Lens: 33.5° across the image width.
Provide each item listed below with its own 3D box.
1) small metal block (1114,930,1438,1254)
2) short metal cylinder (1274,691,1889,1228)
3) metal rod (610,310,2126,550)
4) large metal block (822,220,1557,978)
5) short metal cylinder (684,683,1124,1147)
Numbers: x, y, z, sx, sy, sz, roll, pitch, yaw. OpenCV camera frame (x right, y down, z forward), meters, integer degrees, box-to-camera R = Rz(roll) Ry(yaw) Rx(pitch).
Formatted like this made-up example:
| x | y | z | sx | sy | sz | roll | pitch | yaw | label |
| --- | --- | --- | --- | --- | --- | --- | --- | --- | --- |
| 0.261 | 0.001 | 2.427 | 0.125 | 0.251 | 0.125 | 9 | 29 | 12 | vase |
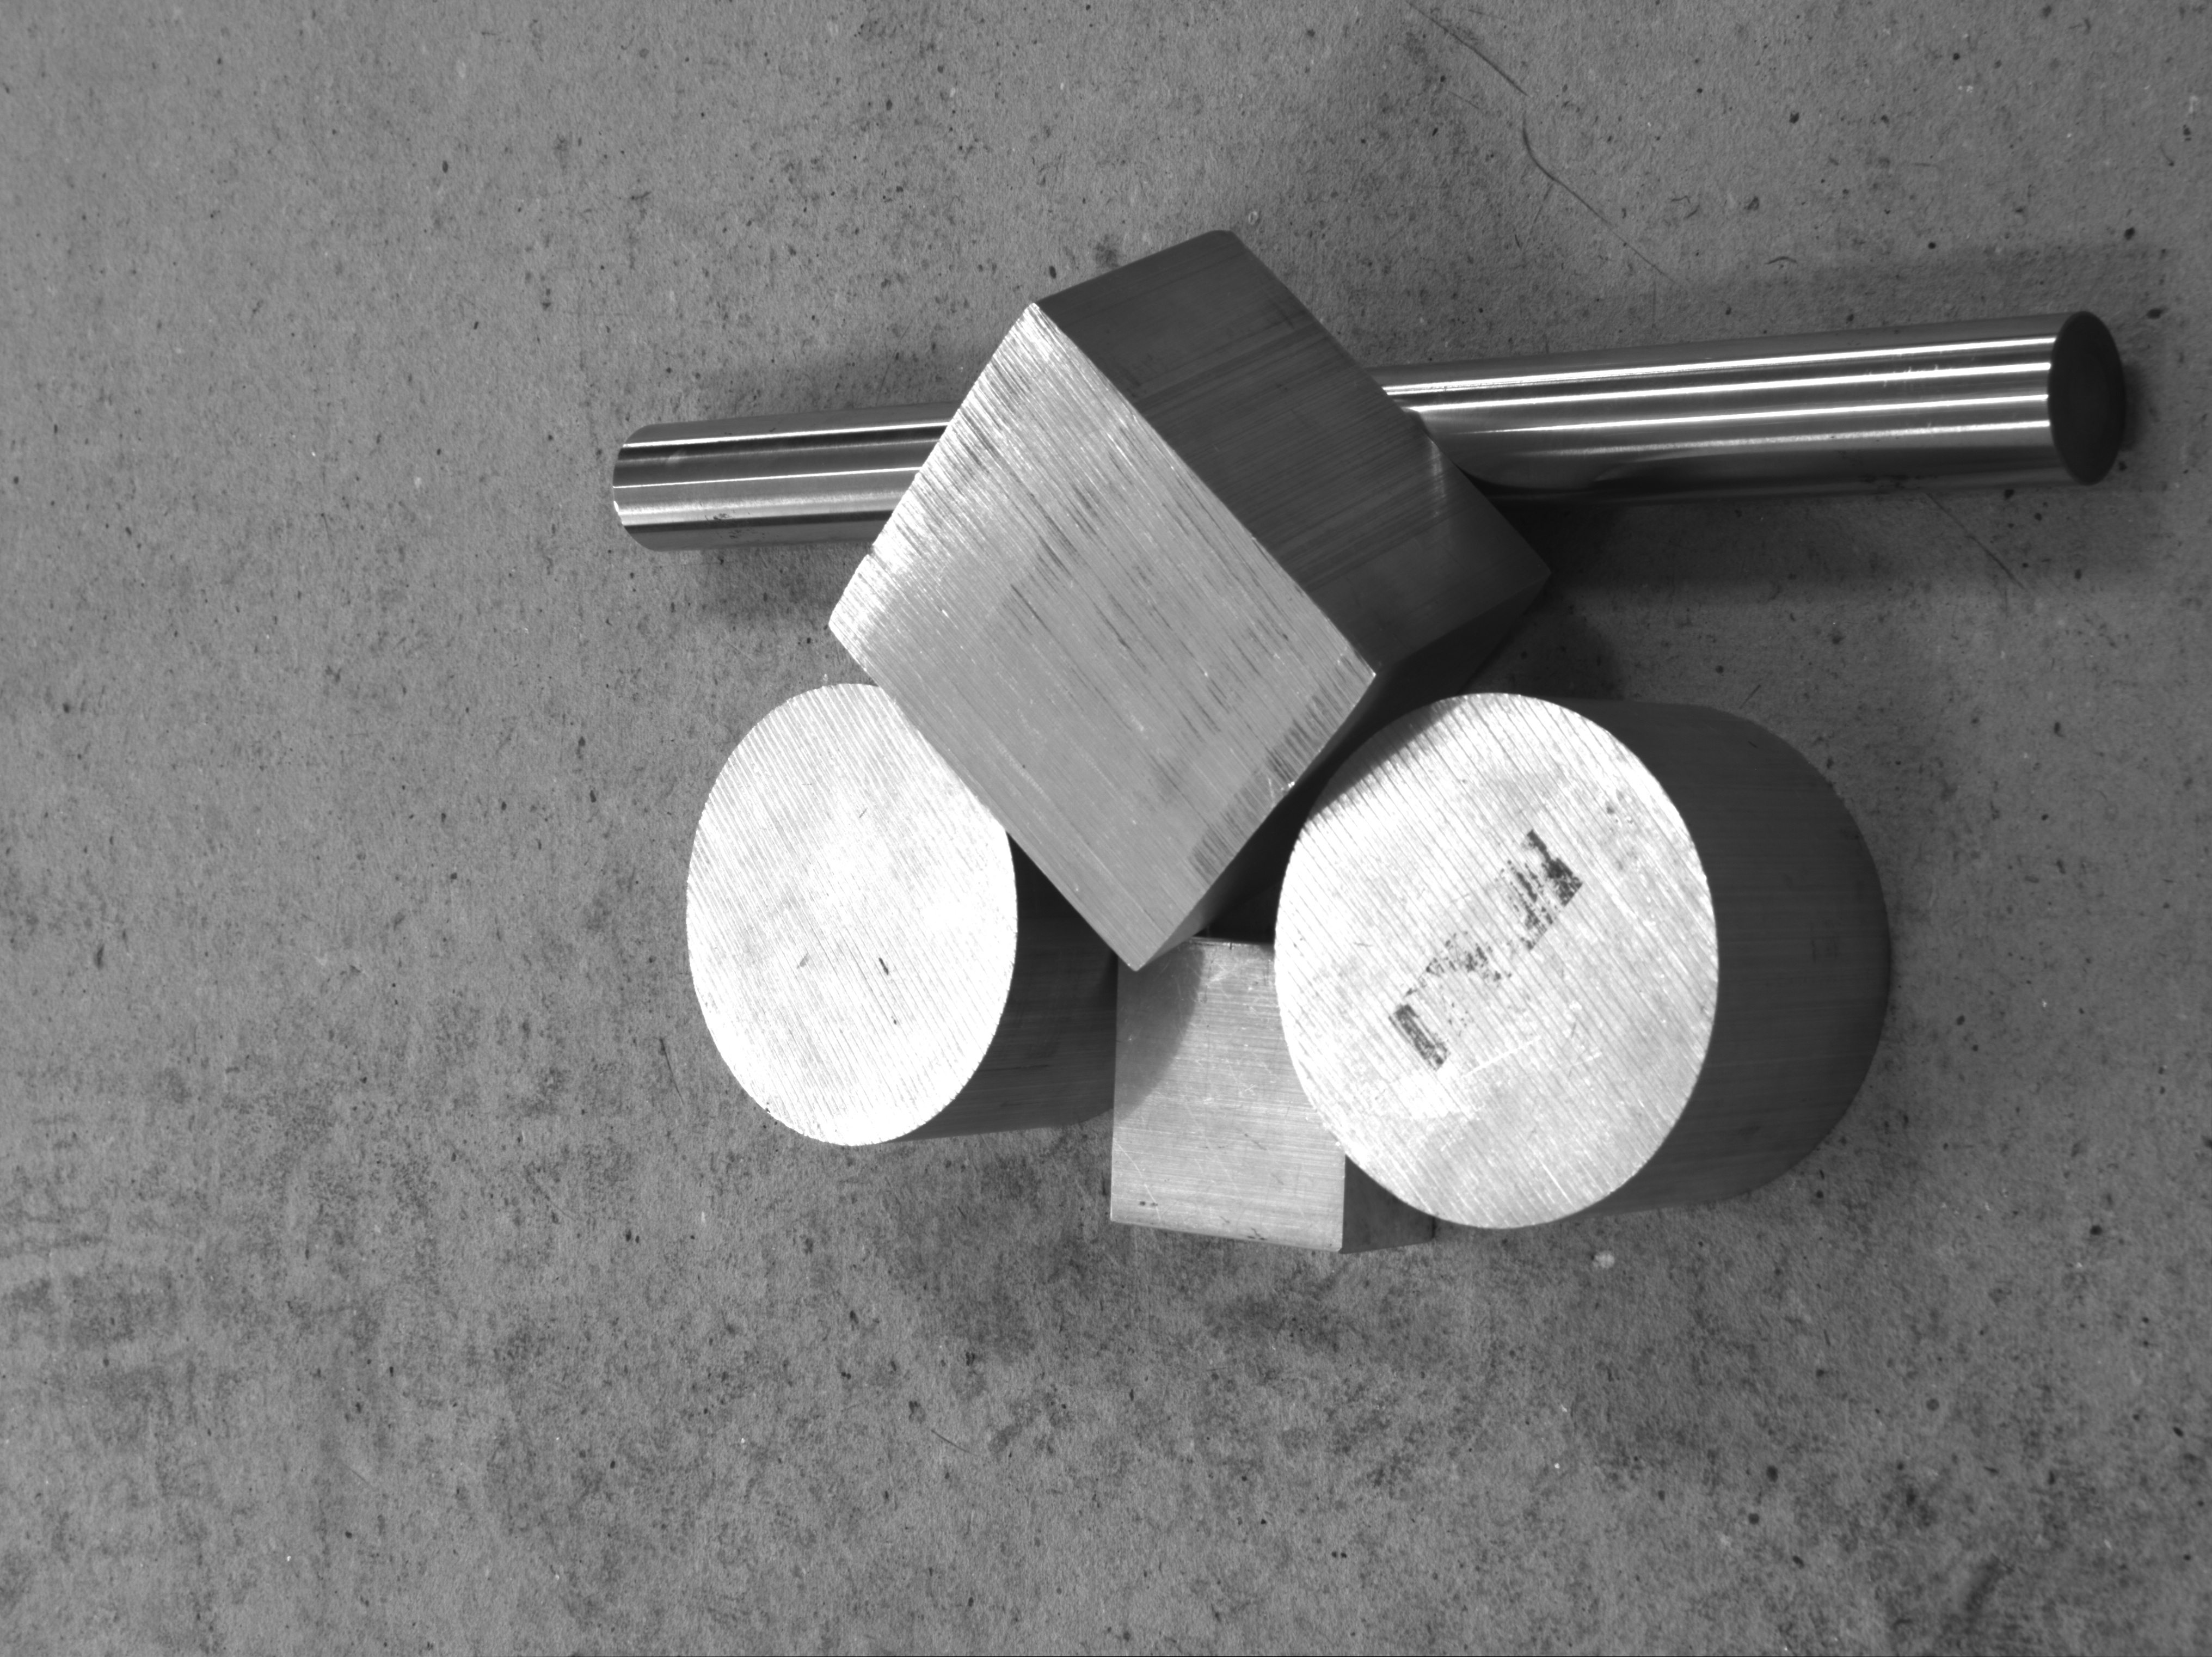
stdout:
| x | y | z | sx | sy | sz | roll | pitch | yaw | label |
| --- | --- | --- | --- | --- | --- | --- | --- | --- | --- |
| 0.029 | 0.043 | 0.622 | 0.050 | 0.025 | 0.050 | 2 | 92 | 40 | small metal block |
| 0.073 | 0.020 | 0.568 | 0.080 | 0.050 | 0.080 | 0 | 90 | 40 | short metal cylinder |
| 0.026 | -0.064 | 0.623 | 0.299 | 0.025 | 0.025 | 1 | 91 | 40 | metal rod |
| 0.012 | -0.037 | 0.596 | 0.080 | 0.050 | 0.080 | 48 | 134 | 11 | large metal block |
| -0.029 | 0.015 | 0.653 | 0.080 | 0.050 | 0.080 | 0 | 90 | 40 | short metal cylinder |
